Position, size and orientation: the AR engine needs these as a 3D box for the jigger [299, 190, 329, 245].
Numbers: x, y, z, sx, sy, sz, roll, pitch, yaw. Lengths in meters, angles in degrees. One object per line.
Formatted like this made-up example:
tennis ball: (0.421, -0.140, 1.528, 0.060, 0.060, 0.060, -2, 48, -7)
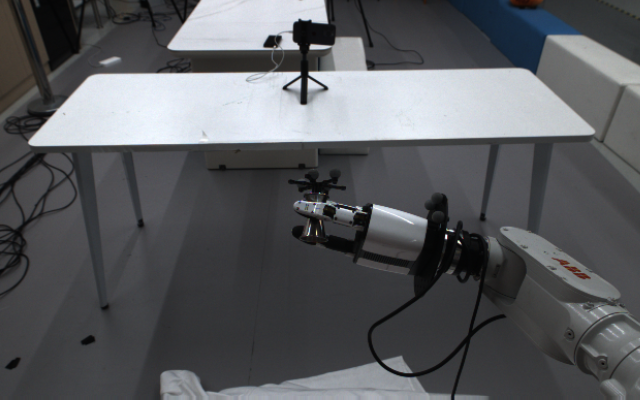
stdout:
jigger: (-0.009, 0.024, 0.727, 0.043, 0.043, 0.071, 3, 75, 2)
